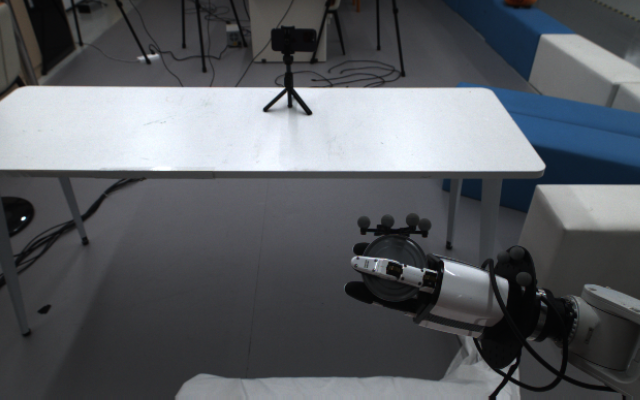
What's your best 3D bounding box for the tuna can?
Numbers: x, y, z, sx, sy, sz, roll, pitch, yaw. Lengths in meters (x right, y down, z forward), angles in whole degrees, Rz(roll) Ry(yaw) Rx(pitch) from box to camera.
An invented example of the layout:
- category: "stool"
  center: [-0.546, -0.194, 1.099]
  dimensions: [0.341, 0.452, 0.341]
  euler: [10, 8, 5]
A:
- category: "tuna can"
  center: [0.096, 0.087, 0.628]
  dimensions: [0.085, 0.034, 0.085]
  euler: [-1, 75, 4]
